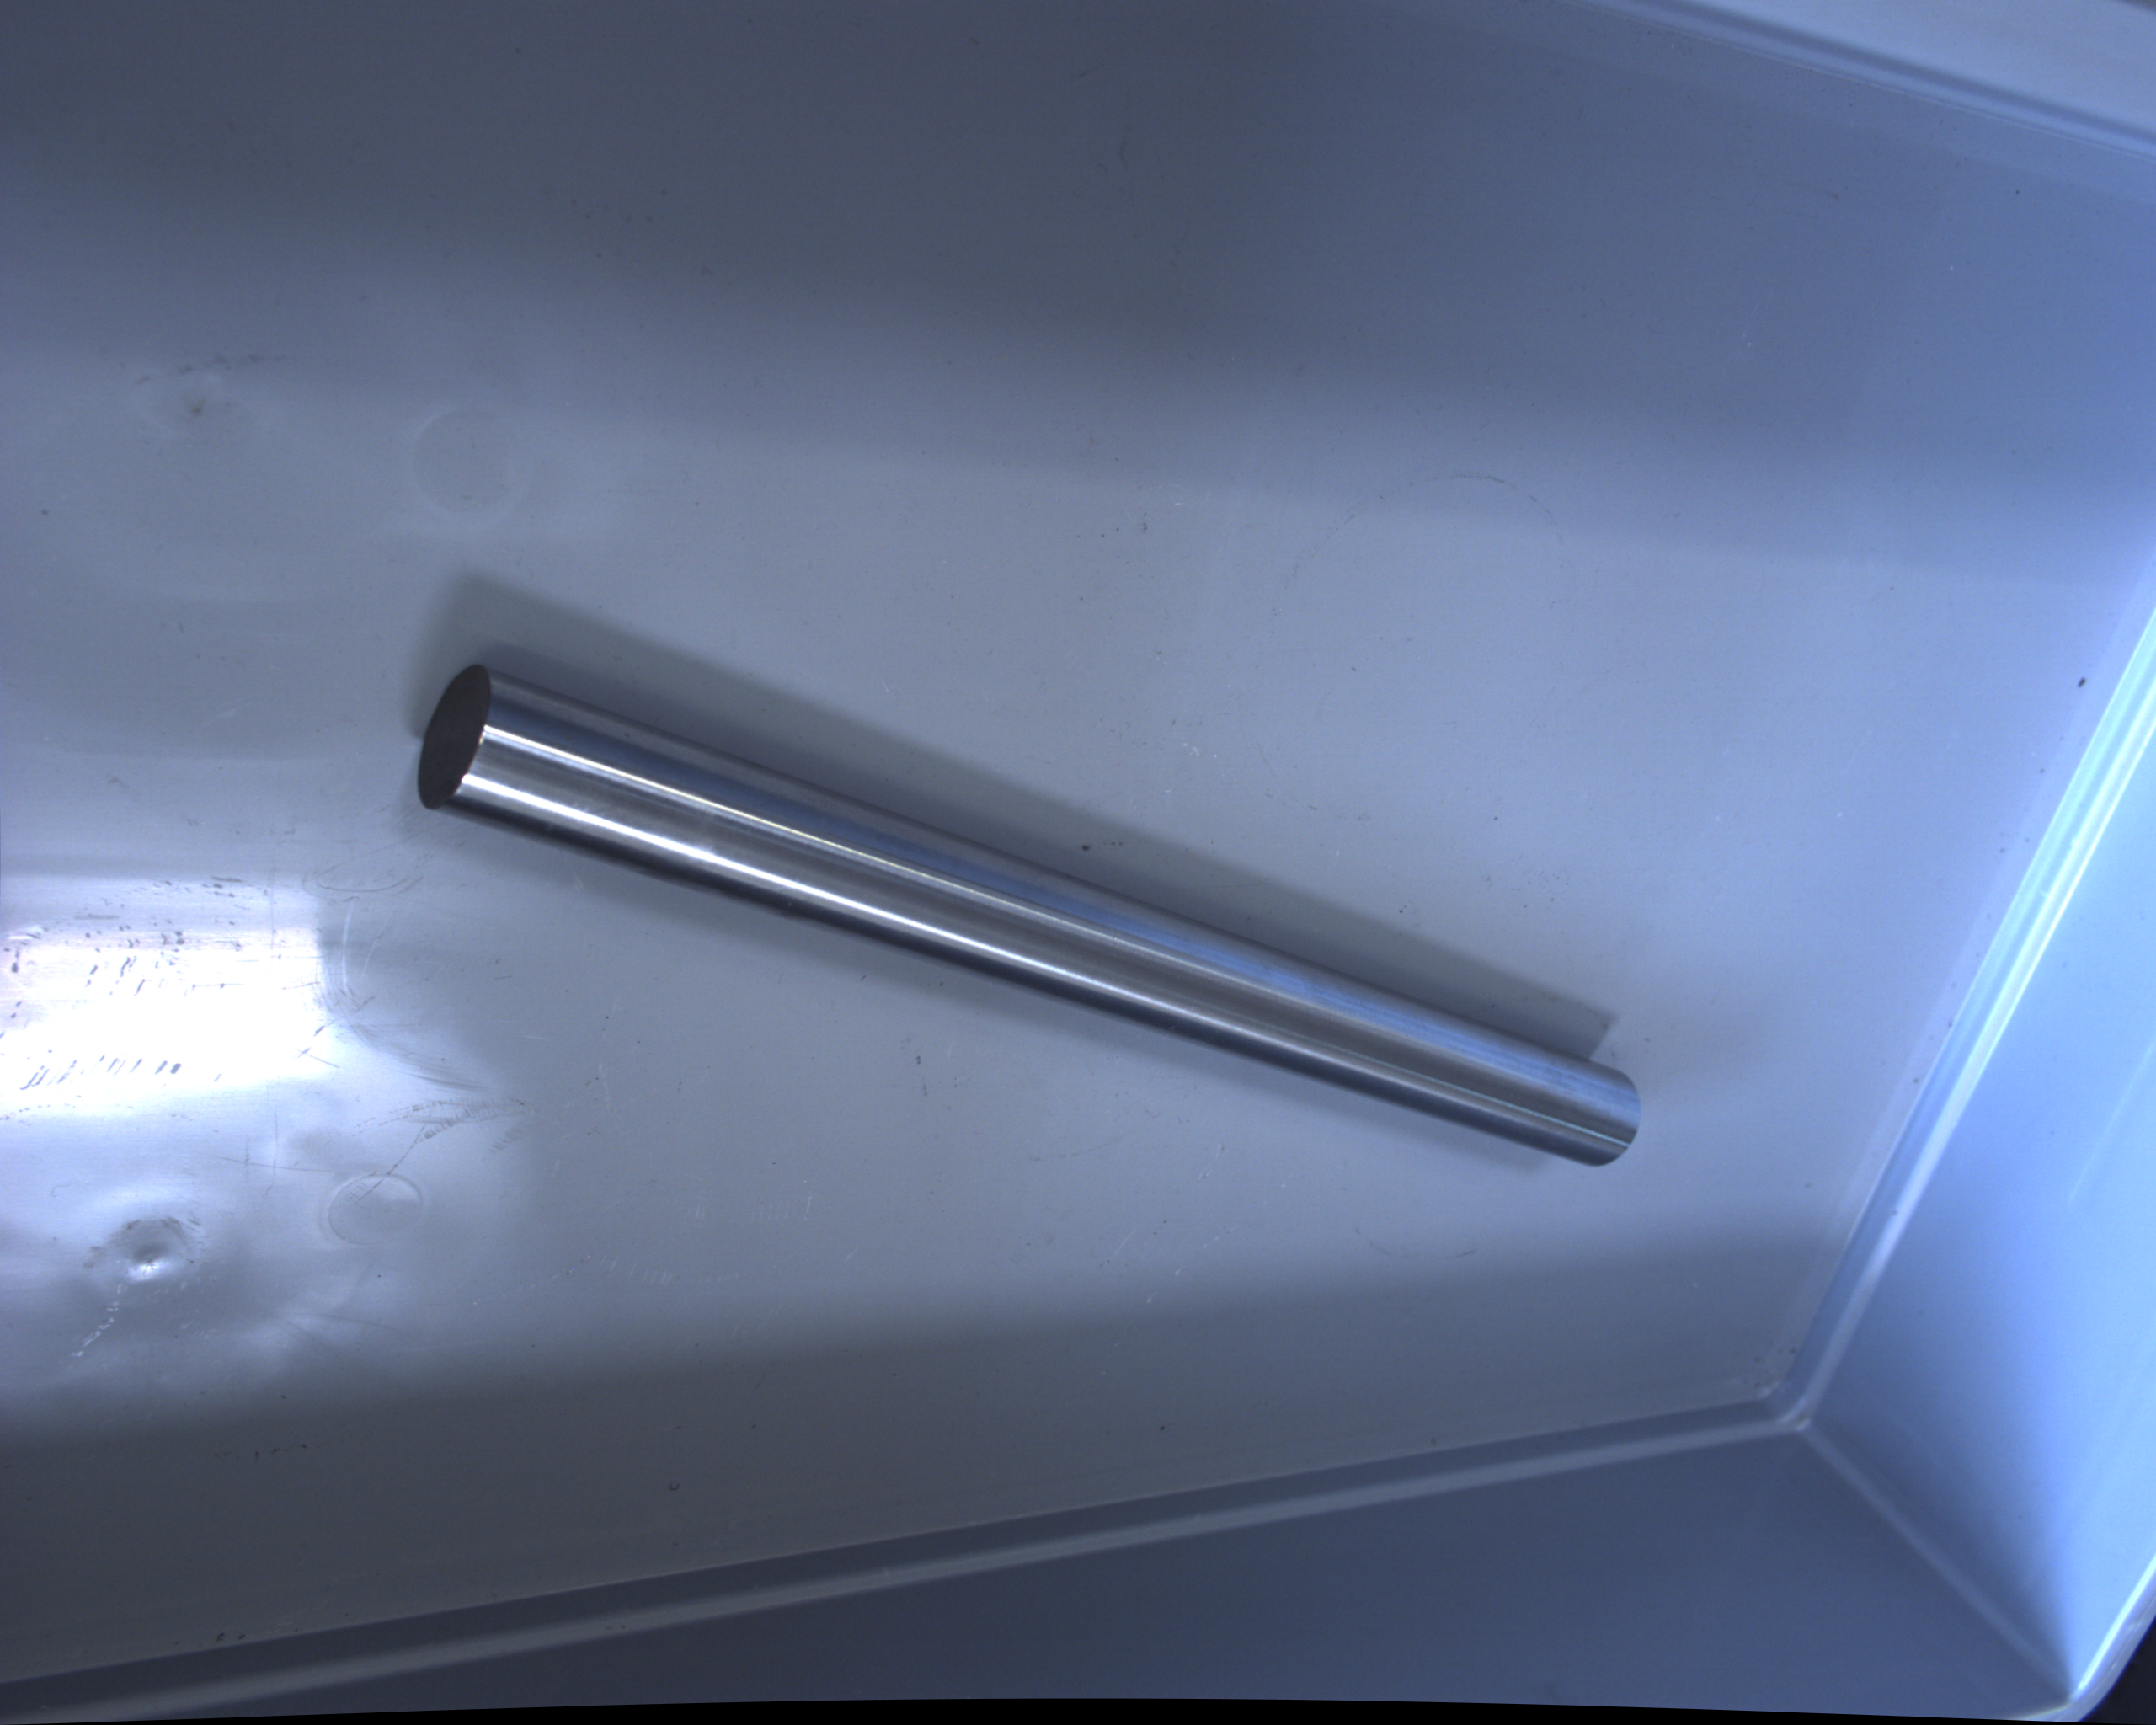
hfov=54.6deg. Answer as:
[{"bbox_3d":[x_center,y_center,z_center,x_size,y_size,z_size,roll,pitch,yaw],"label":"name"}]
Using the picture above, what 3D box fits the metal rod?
[{"bbox_3d":[0.014,0.021,0.426,0.302,0.025,0.025,20,108,-36],"label":"metal rod"}]
